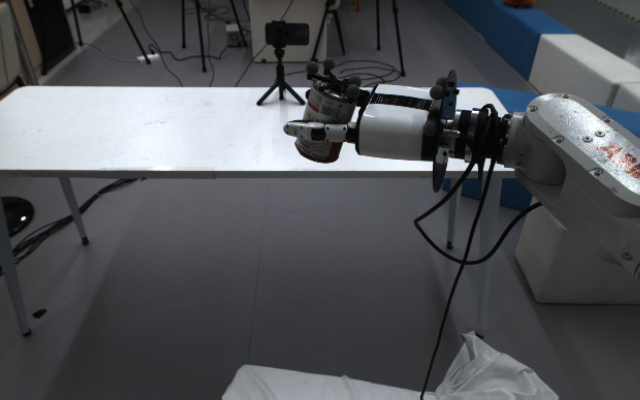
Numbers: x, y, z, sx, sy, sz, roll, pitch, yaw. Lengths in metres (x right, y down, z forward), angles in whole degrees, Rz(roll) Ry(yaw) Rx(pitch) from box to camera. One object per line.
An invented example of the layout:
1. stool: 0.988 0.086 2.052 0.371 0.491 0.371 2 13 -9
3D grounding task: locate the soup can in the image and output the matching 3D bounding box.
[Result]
1. soup can: 0.010 -0.112 0.684 0.067 0.101 0.067 13 35 -9
